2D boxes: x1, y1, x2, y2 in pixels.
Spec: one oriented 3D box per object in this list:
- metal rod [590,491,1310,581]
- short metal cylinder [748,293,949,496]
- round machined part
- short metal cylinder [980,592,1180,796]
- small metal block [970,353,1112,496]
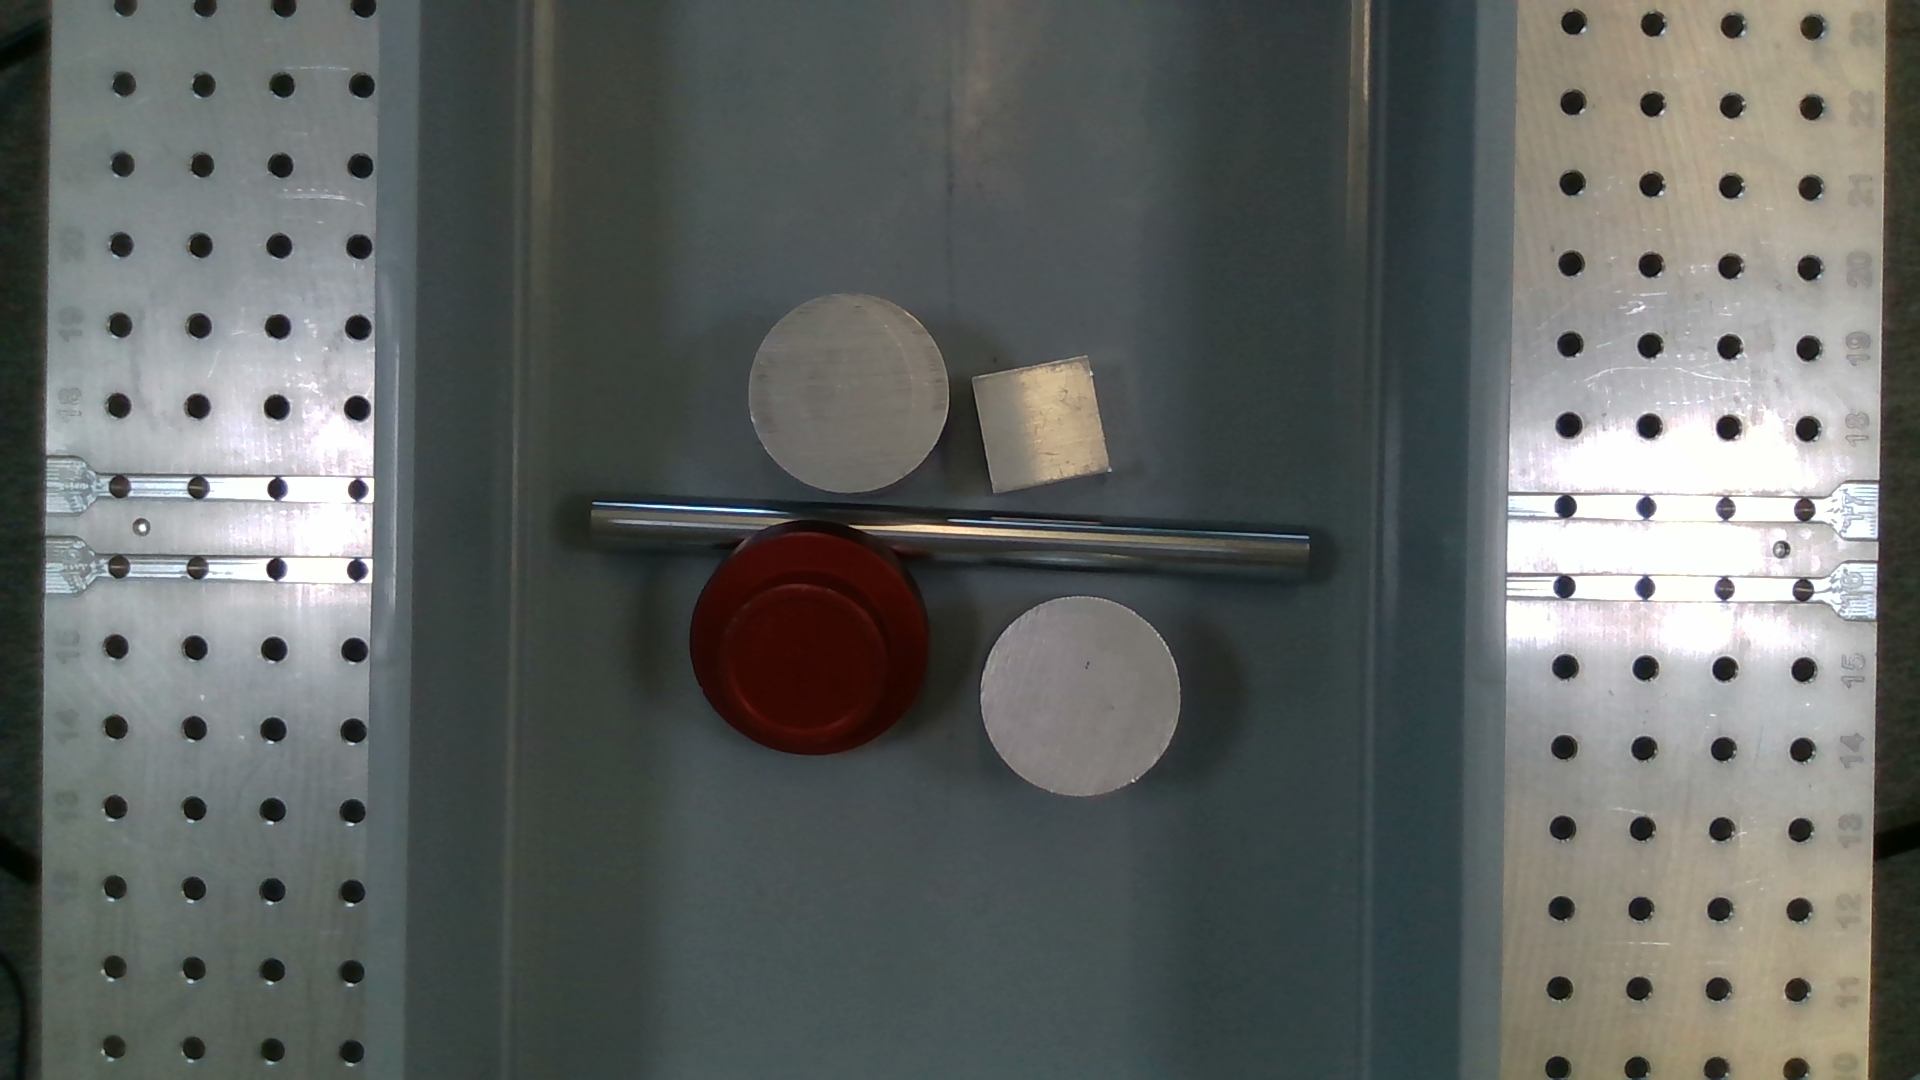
[{"bbox_3d":[-0.004,-0.001,0.586,0.300,0.025,0.025,3,90,0],"label":"metal rod"},{"bbox_3d":[-0.045,-0.058,0.572,0.080,0.050,0.080,0,90,0],"label":"short metal cylinder"},{"bbox_3d":[-0.063,0.044,0.566,0.098,0.042,0.098,0,107,-1],"label":"round machined part"},{"bbox_3d":[0.048,0.062,0.574,0.080,0.050,0.080,0,90,0],"label":"short metal cylinder"},{"bbox_3d":[0.034,-0.048,0.585,0.050,0.025,0.050,-11,90,0],"label":"small metal block"}]
